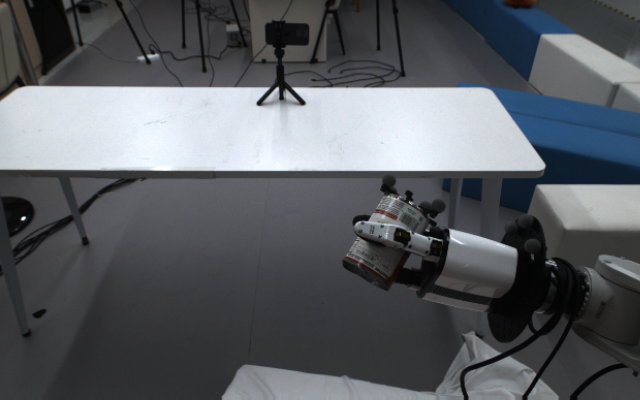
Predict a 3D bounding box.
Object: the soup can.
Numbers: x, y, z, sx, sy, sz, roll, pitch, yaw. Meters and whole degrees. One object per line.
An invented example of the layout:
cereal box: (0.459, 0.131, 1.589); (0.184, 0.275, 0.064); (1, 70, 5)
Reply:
soup can: (0.084, 0.049, 0.602); (0.067, 0.067, 0.101); (26, 75, 30)
